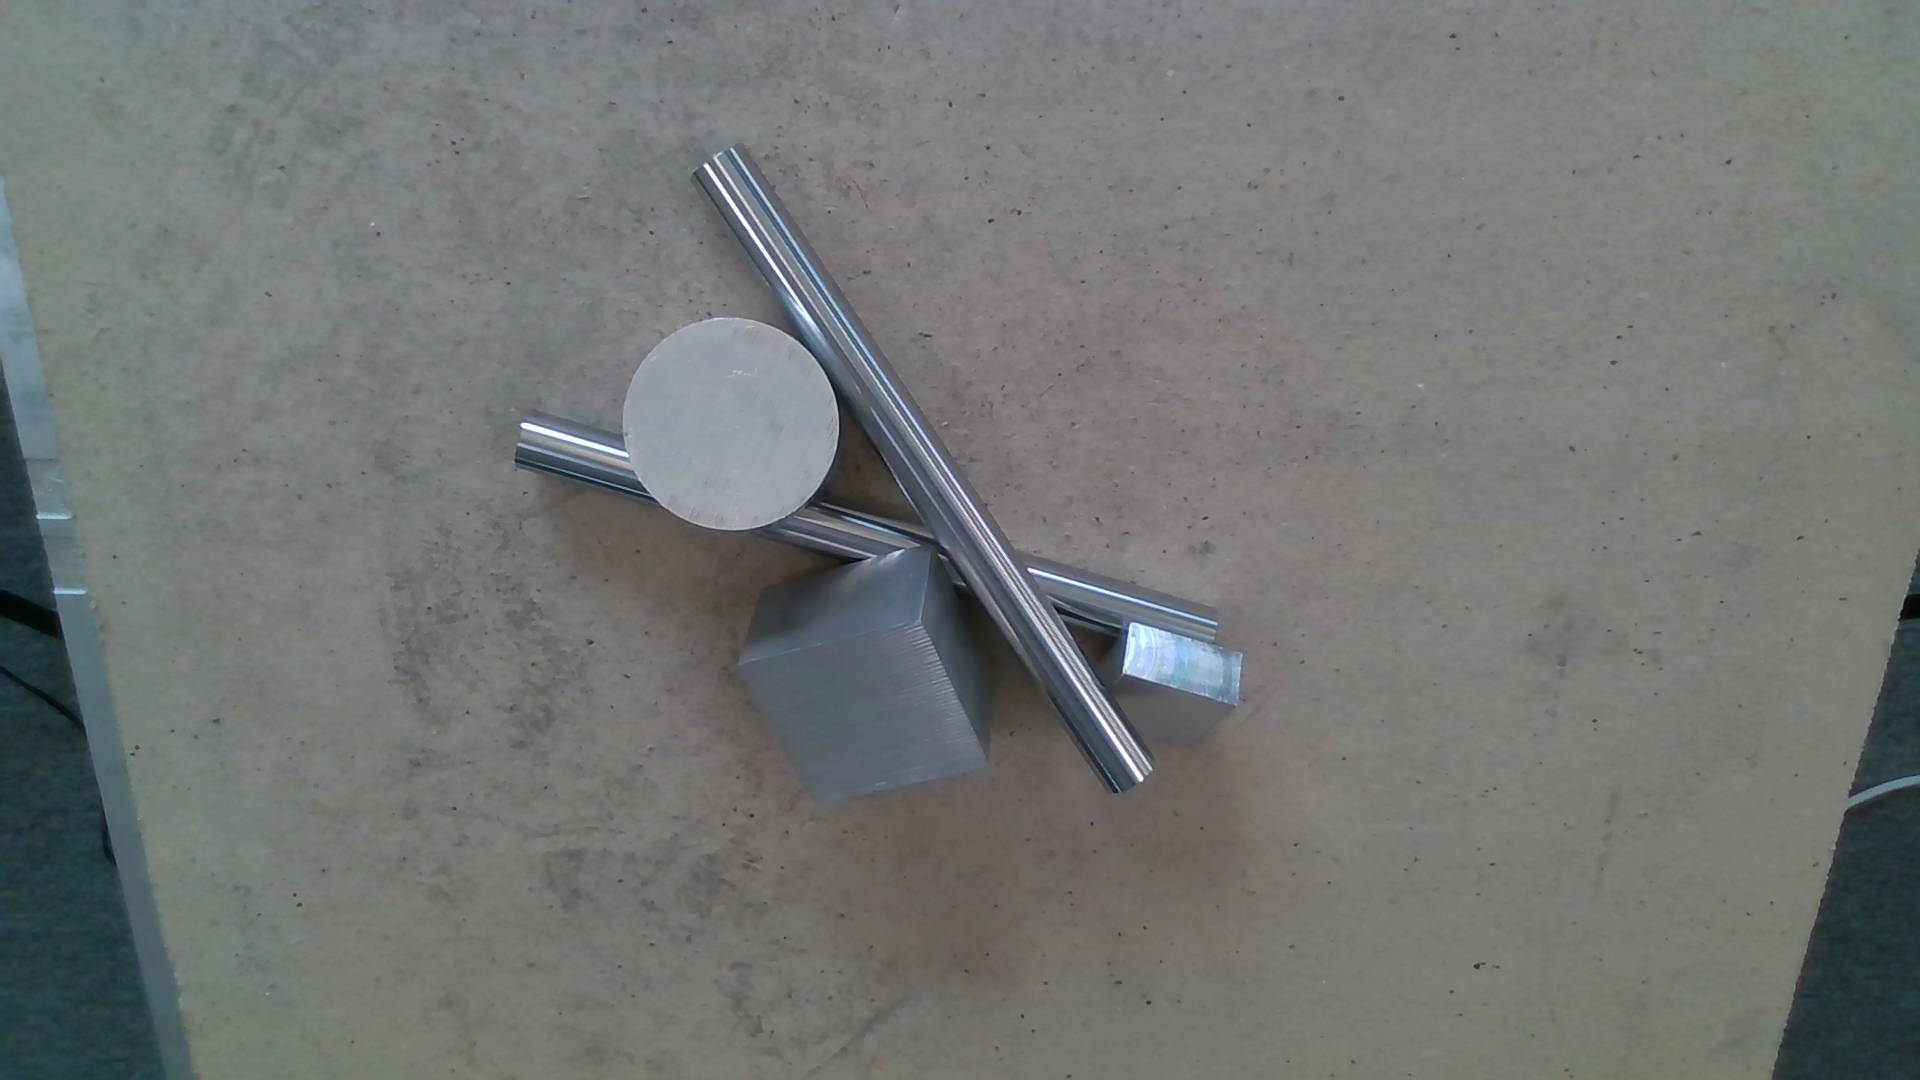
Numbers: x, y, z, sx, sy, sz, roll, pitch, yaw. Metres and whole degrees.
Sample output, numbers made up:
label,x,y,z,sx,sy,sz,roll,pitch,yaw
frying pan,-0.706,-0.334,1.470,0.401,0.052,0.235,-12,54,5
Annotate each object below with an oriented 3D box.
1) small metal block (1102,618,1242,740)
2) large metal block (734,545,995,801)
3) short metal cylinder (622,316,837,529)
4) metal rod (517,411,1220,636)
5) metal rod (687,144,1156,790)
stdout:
label,x,y,z,sx,sy,sz,roll,pitch,yaw
small metal block,0.087,0.062,0.595,0.050,0.025,0.050,16,149,-6
large metal block,-0.037,0.056,0.577,0.080,0.050,0.080,-14,122,15
short metal cylinder,-0.089,-0.044,0.542,0.080,0.050,0.080,0,90,-6
metal rod,-0.035,0.000,0.584,0.300,0.025,0.025,16,109,-6
metal rod,-0.011,-0.024,0.558,0.025,0.025,0.300,-33,100,11
